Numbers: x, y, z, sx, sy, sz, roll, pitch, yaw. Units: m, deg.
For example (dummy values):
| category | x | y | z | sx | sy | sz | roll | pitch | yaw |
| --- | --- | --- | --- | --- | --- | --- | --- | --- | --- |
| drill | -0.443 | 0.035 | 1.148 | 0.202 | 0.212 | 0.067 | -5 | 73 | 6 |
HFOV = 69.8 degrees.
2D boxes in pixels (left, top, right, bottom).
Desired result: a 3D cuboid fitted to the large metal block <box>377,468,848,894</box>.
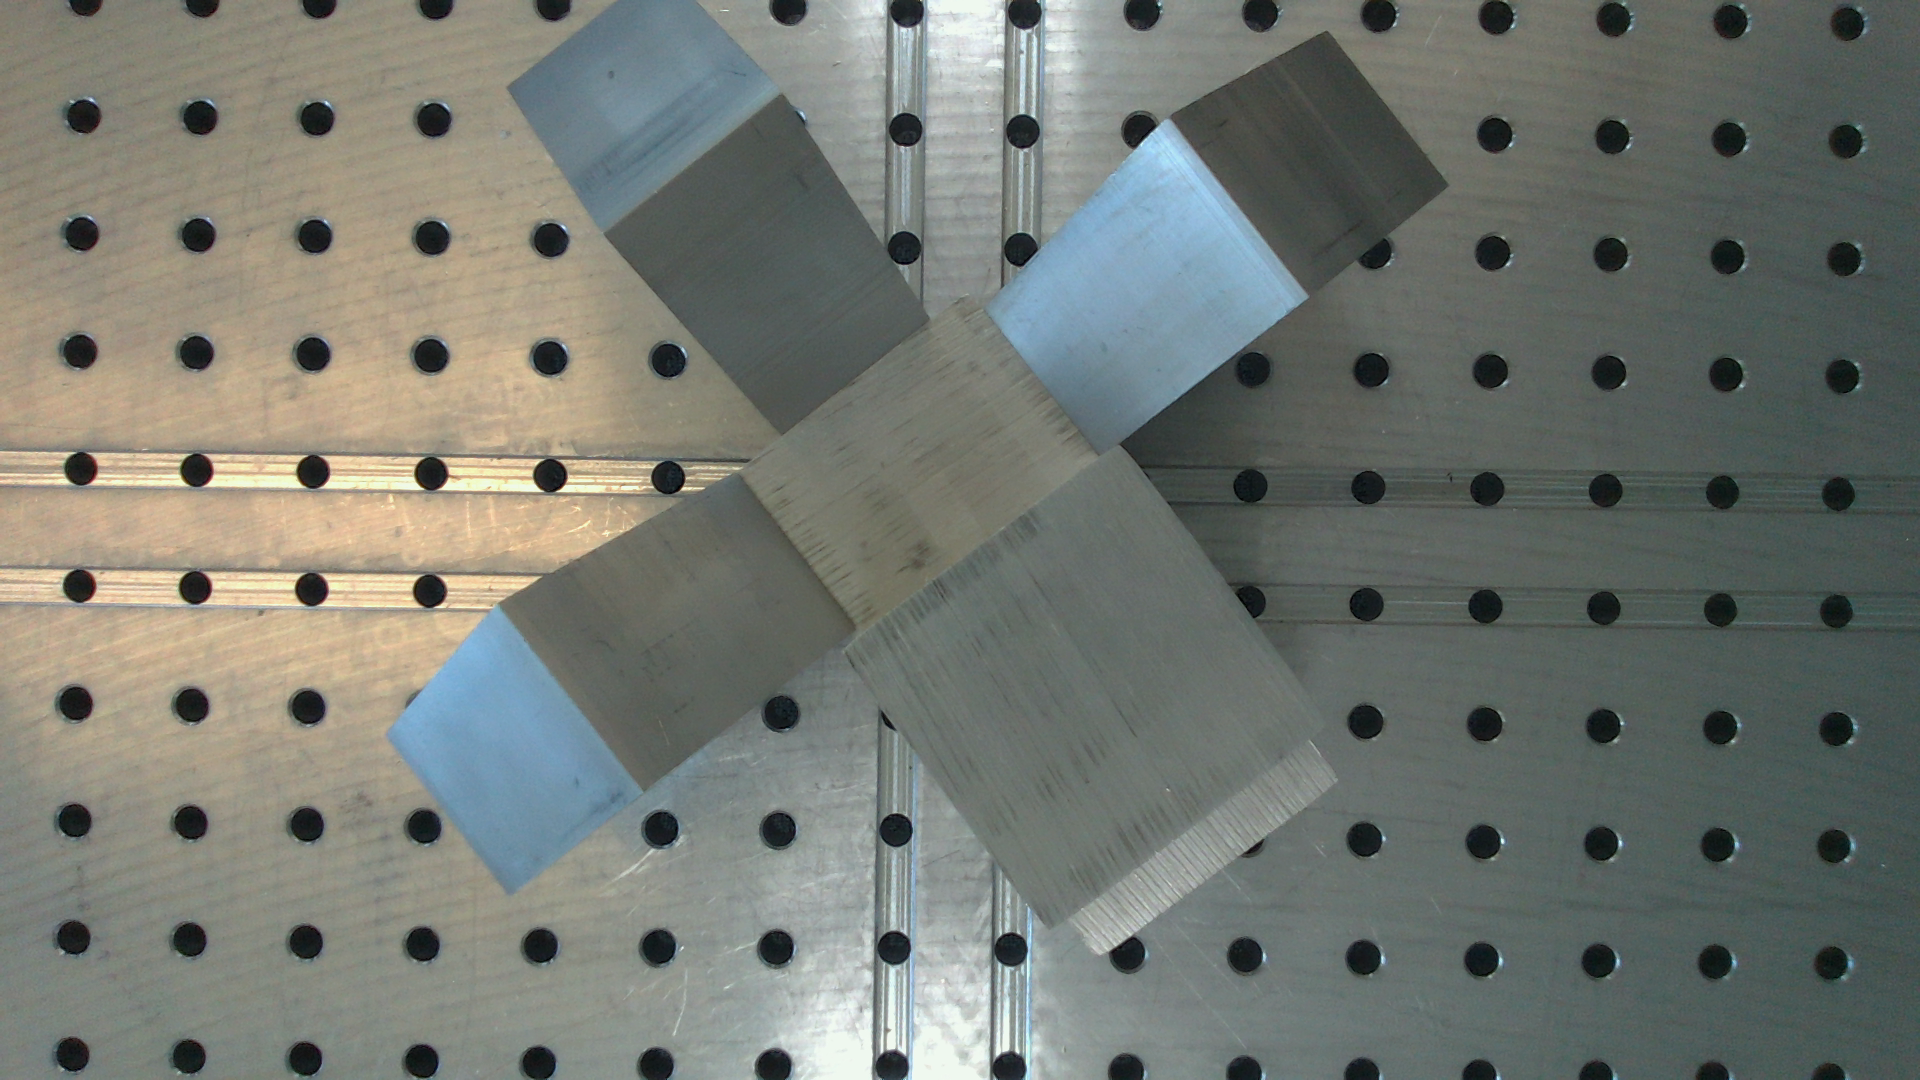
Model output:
| category | x | y | z | sx | sy | sz | roll | pitch | yaw |
| --- | --- | --- | --- | --- | --- | --- | --- | --- | --- |
| large metal block | -0.089 | 0.036 | 0.355 | 0.050 | 0.080 | 0.080 | 52 | 132 | 1 |

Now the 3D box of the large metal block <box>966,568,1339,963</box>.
| category | x | y | z | sx | sy | sz | roll | pitch | yaw |
| --- | --- | --- | --- | --- | --- | --- | --- | --- | --- |
| large metal block | 0.043 | 0.055 | 0.385 | 0.080 | 0.050 | 0.080 | -37 | 89 | -1 |

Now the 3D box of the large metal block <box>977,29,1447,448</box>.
| category | x | y | z | sx | sy | sz | roll | pitch | yaw |
| --- | --- | --- | --- | --- | --- | --- | --- | --- | --- |
| large metal block | 0.064 | -0.075 | 0.355 | 0.050 | 0.080 | 0.080 | 52 | 50 | 0 |

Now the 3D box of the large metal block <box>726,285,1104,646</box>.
| category | x | y | z | sx | sy | sz | roll | pitch | yaw |
| --- | --- | --- | --- | --- | --- | --- | --- | --- | --- |
| large metal block | -0.005 | -0.011 | 0.385 | 0.080 | 0.050 | 0.080 | -38 | 90 | 0 |

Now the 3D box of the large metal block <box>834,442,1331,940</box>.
| category | x | y | z | sx | sy | sz | roll | pitch | yaw |
| --- | --- | --- | --- | --- | --- | --- | --- | --- | --- |
| large metal block | 0.027 | 0.034 | 0.334 | 0.080 | 0.050 | 0.080 | -37 | 91 | -1 |

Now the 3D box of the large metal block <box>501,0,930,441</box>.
| category | x | y | z | sx | sy | sz | roll | pitch | yaw |
| --- | --- | --- | --- | --- | --- | --- | --- | --- | --- |
| large metal block | -0.062 | -0.086 | 0.354 | 0.050 | 0.080 | 0.080 | -38 | 51 | 0 |
